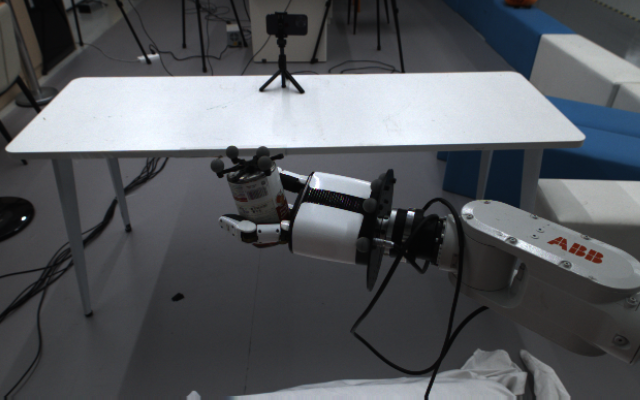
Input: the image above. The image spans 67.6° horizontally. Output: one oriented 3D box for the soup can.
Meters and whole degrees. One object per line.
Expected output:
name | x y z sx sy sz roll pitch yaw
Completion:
soup can | -0.076 0.004 0.641 0.067 0.101 0.067 -11 27 6
